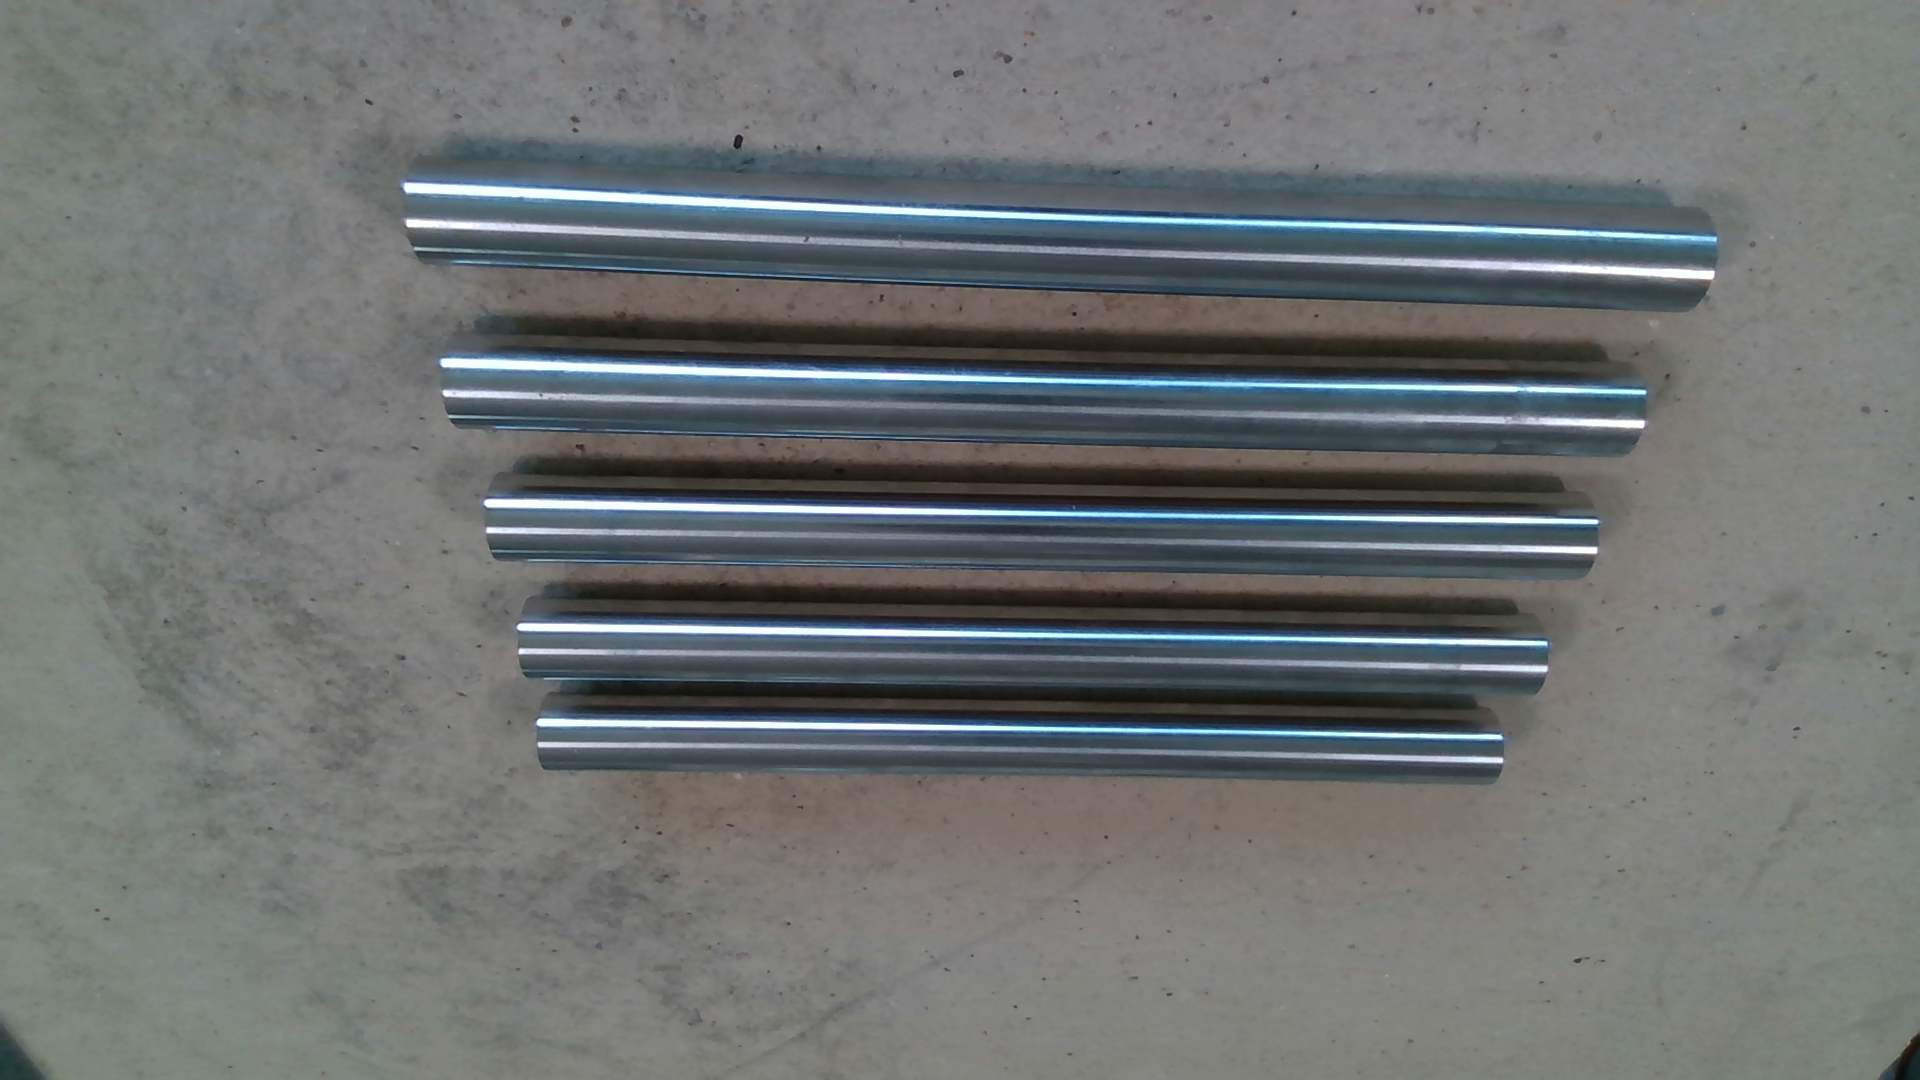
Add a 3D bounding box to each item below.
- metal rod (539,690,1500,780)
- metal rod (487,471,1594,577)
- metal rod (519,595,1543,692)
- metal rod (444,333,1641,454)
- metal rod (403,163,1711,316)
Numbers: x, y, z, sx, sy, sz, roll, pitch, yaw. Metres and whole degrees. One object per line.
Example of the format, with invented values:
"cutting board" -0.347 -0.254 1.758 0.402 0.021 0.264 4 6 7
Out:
"metal rod" 0.019 0.063 0.442 0.300 0.025 0.025 1 130 -1
"metal rod" 0.023 -0.004 0.385 0.300 0.025 0.025 1 130 -1
"metal rod" 0.022 0.031 0.415 0.300 0.025 0.025 1 130 -1
"metal rod" 0.022 -0.038 0.357 0.300 0.025 0.025 1 130 -1
"metal rod" 0.024 -0.071 0.327 0.300 0.025 0.025 2 130 -2
